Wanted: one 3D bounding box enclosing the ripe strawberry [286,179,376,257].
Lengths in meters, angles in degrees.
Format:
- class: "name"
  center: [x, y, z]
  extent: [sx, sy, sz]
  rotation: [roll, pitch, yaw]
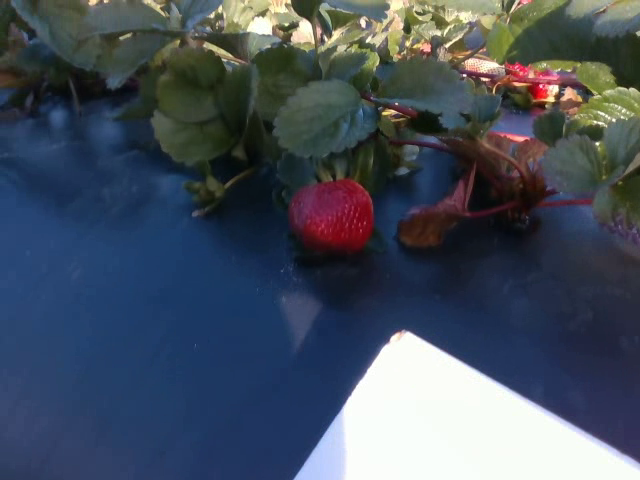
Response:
- class: "ripe strawberry"
  center: [0.002, -0.010, 0.245]
  extent: [0.040, 0.041, 0.056]
  rotation: [-27, 4, 17]
